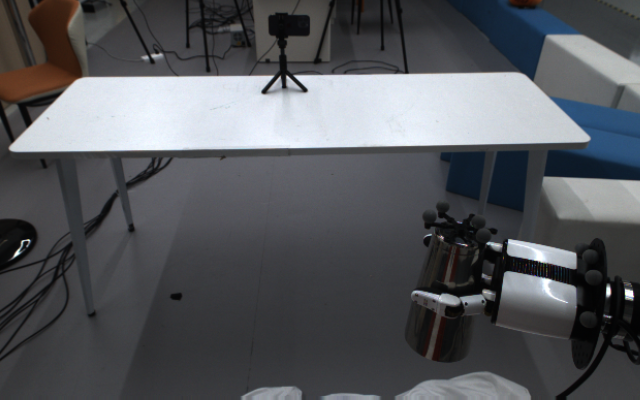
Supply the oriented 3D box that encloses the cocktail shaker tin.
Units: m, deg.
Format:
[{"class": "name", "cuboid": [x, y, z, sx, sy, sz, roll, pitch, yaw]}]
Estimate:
[{"class": "cocktail shaker tin", "cuboid": [0.171, 0.117, 0.642, 0.093, 0.170, 0.093, 3, 25, -1]}]
